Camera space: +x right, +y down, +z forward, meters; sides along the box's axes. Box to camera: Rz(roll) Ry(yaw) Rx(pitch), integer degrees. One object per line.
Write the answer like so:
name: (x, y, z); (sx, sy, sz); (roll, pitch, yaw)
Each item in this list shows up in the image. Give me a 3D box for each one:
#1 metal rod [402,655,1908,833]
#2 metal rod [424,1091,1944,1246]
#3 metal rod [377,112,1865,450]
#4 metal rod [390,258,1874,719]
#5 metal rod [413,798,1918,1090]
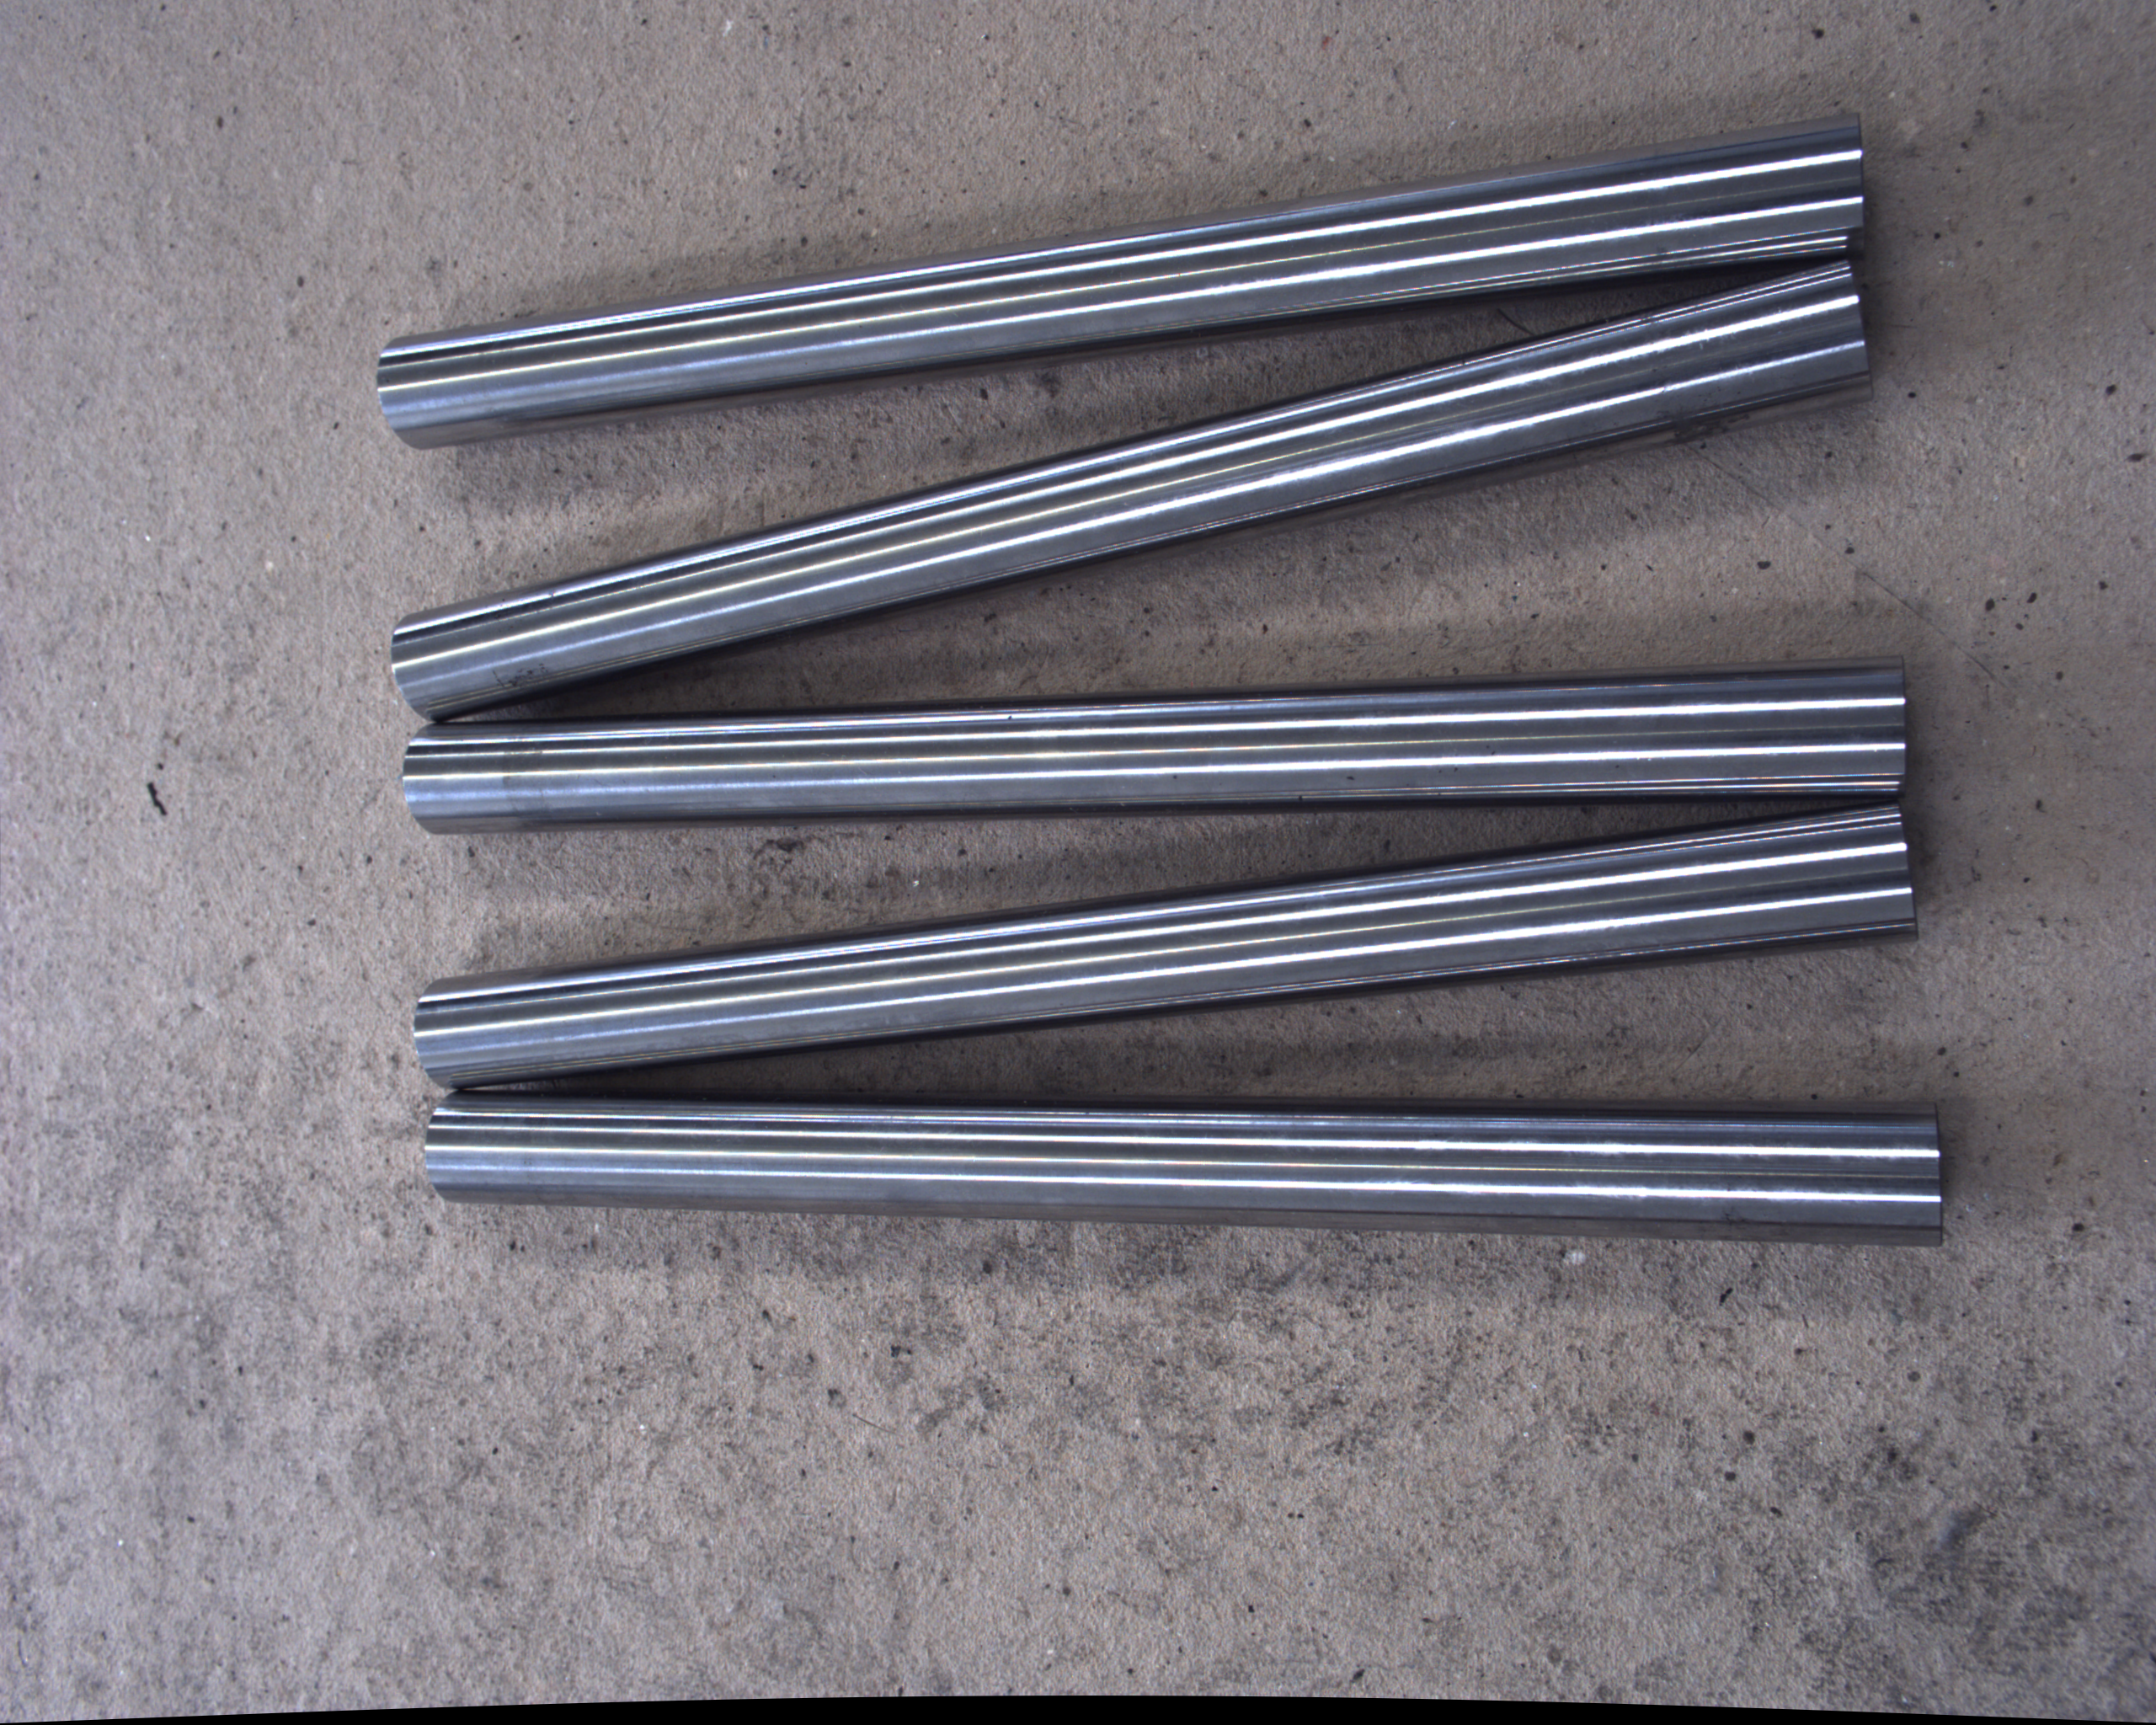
metal rod: (0.001, -0.021, 0.410); (0.301, 0.025, 0.025); (-1, 90, 19)
metal rod: (0.006, 0.058, 0.408); (0.301, 0.025, 0.025); (-2, 90, 19)
metal rod: (-0.006, -0.111, 0.412); (0.301, 0.025, 0.025); (-3, 89, 19)
metal rod: (-0.004, -0.068, 0.412); (0.301, 0.025, 0.025); (-10, 87, 19)
metal rod: (0.002, 0.019, 0.409); (0.301, 0.025, 0.025); (-7, 88, 19)
